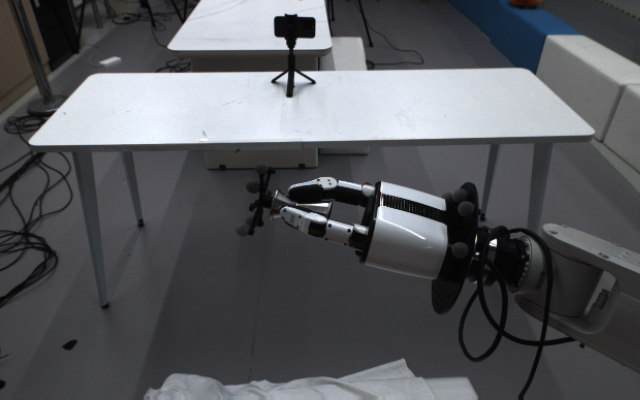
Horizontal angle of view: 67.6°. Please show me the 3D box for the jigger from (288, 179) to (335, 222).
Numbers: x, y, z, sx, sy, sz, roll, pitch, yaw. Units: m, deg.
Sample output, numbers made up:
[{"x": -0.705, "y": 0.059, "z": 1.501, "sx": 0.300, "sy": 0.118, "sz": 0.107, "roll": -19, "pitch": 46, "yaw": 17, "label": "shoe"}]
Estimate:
[{"x": -0.016, "y": 0.011, "z": 0.584, "sx": 0.071, "sy": 0.043, "sz": 0.043, "roll": 14, "pitch": 36, "yaw": 5, "label": "jigger"}]
